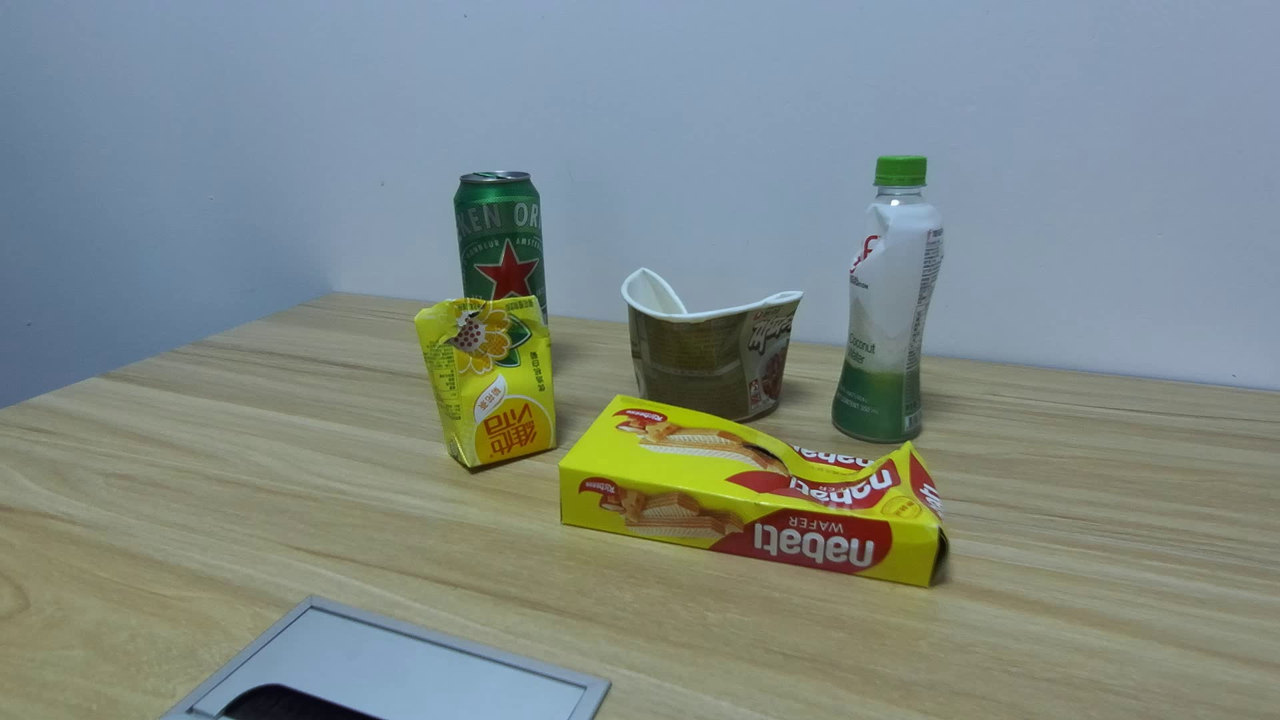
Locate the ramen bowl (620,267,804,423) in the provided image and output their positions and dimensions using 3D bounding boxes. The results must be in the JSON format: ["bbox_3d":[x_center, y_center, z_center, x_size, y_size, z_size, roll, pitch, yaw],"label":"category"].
[{"bbox_3d":[0.046,-0.013,0.539,0.137,0.098,0.137,-2,20,1],"label":"ramen bowl"}]

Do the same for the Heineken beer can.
[{"bbox_3d":[-0.111,-0.064,0.578,0.067,0.169,0.067,-1,20,1],"label":"Heineken beer can"}]

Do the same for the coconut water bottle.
[{"bbox_3d":[0.170,-0.041,0.480,0.069,0.186,0.069,0,18,0],"label":"coconut water bottle"}]

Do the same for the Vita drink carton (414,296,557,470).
[{"bbox_3d":[-0.101,0.011,0.475,0.087,0.108,0.042,-10,10,-30],"label":"Vita drink carton"}]

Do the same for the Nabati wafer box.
[{"bbox_3d":[0.066,0.068,0.409,0.203,0.042,0.107,7,24,17],"label":"Nabati wafer box"}]
